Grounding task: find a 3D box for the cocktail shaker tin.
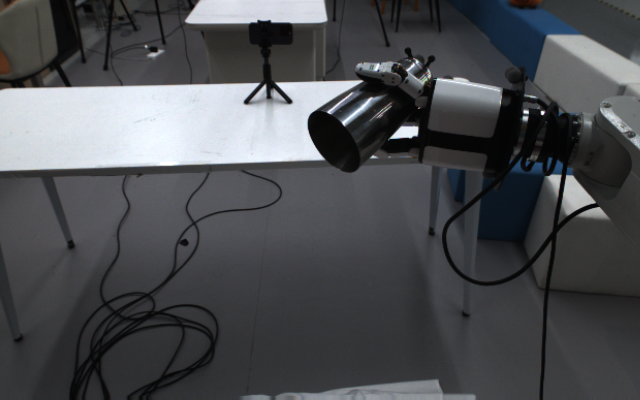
[{"bbox_3d":[0.076,-0.126,0.648,0.170,0.093,0.093,-39,50,-23],"label":"cocktail shaker tin"}]
